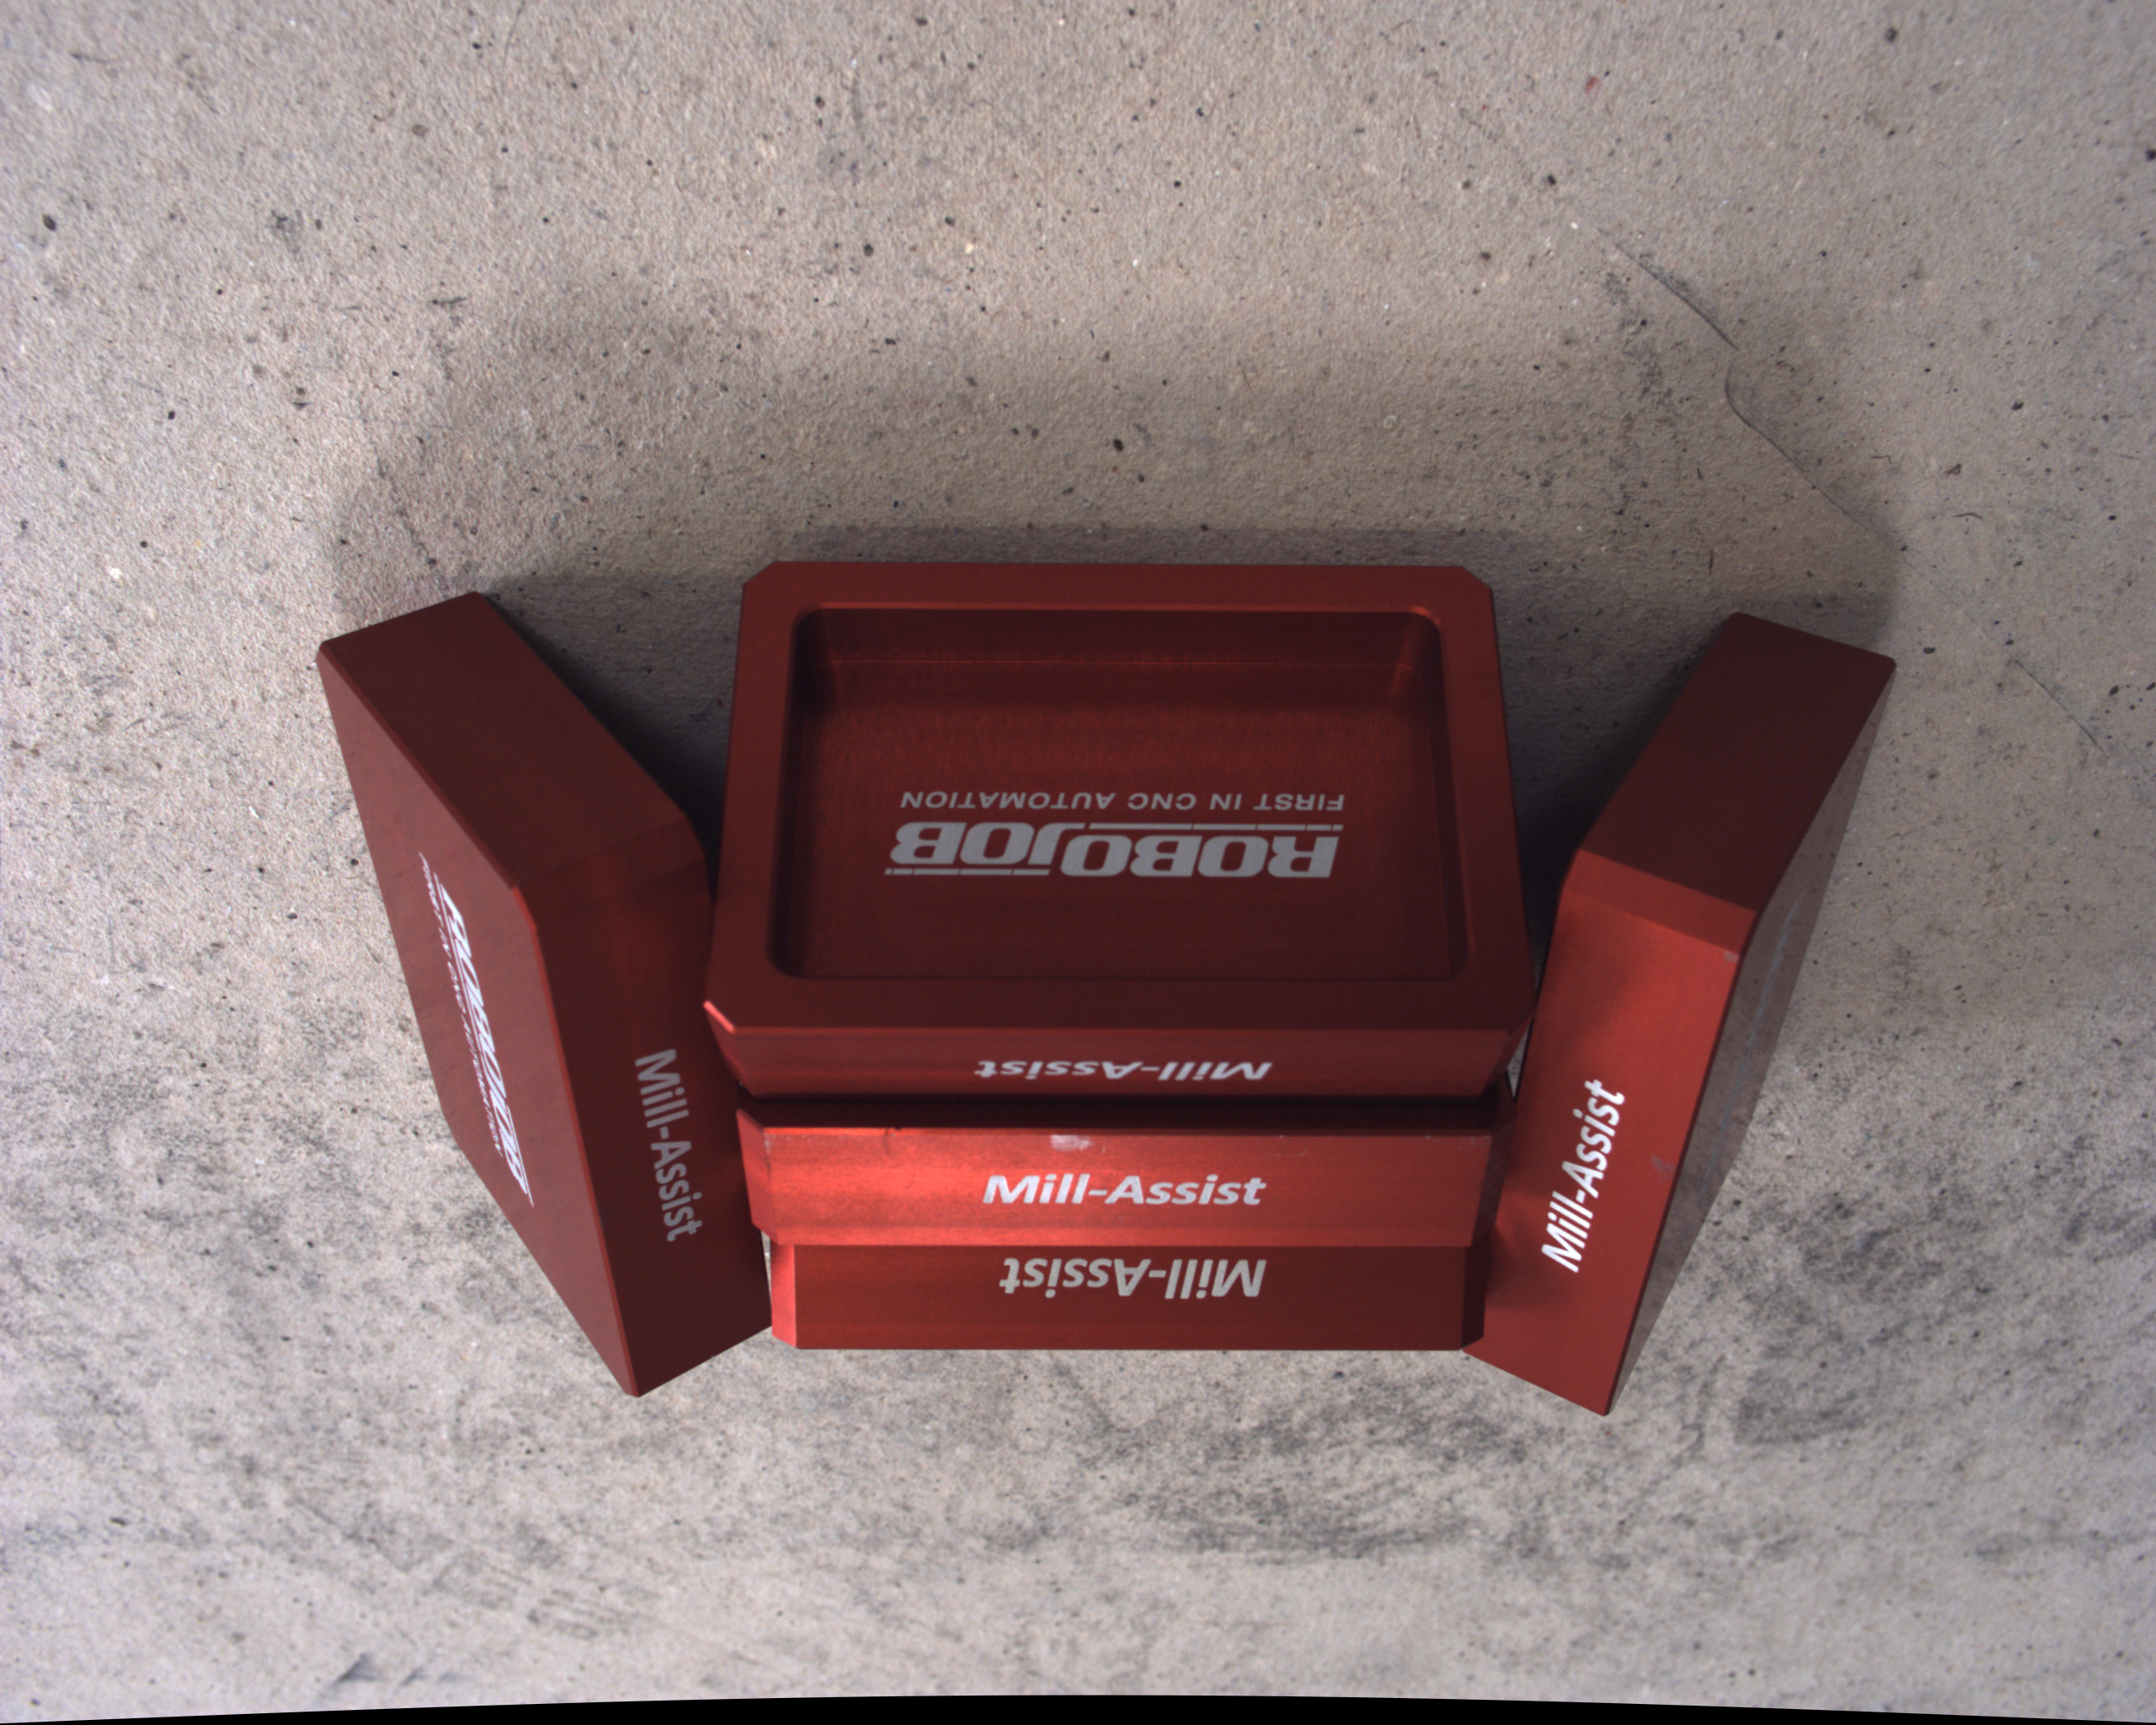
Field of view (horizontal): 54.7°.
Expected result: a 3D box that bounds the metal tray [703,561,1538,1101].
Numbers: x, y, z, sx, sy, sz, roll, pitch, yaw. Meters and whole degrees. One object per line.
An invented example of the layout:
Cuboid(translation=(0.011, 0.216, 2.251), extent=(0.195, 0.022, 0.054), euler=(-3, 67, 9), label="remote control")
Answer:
Cuboid(translation=(0.007, -0.006, 0.357), extent=(0.131, 0.090, 0.030), euler=(0, 152, -1), label="metal tray")

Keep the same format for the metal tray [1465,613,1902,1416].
Cuboid(translation=(0.112, 0.030, 0.391), extent=(0.030, 0.090, 0.129), euler=(22, 135, 23), label="metal tray")

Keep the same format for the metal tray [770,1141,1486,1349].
Cuboid(translation=(0.009, 0.065, 0.420), extent=(0.131, 0.090, 0.030), euler=(0, 101, -1), label="metal tray")

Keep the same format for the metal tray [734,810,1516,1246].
Cuboid(translation=(0.008, 0.027, 0.388), extent=(0.131, 0.090, 0.030), euler=(0, 130, -1), label="metal tray")

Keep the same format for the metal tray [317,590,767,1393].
Cuboid(translation=(-0.097, 0.026, 0.388), extent=(0.030, 0.090, 0.129), euler=(-26, 137, -27), label="metal tray")
